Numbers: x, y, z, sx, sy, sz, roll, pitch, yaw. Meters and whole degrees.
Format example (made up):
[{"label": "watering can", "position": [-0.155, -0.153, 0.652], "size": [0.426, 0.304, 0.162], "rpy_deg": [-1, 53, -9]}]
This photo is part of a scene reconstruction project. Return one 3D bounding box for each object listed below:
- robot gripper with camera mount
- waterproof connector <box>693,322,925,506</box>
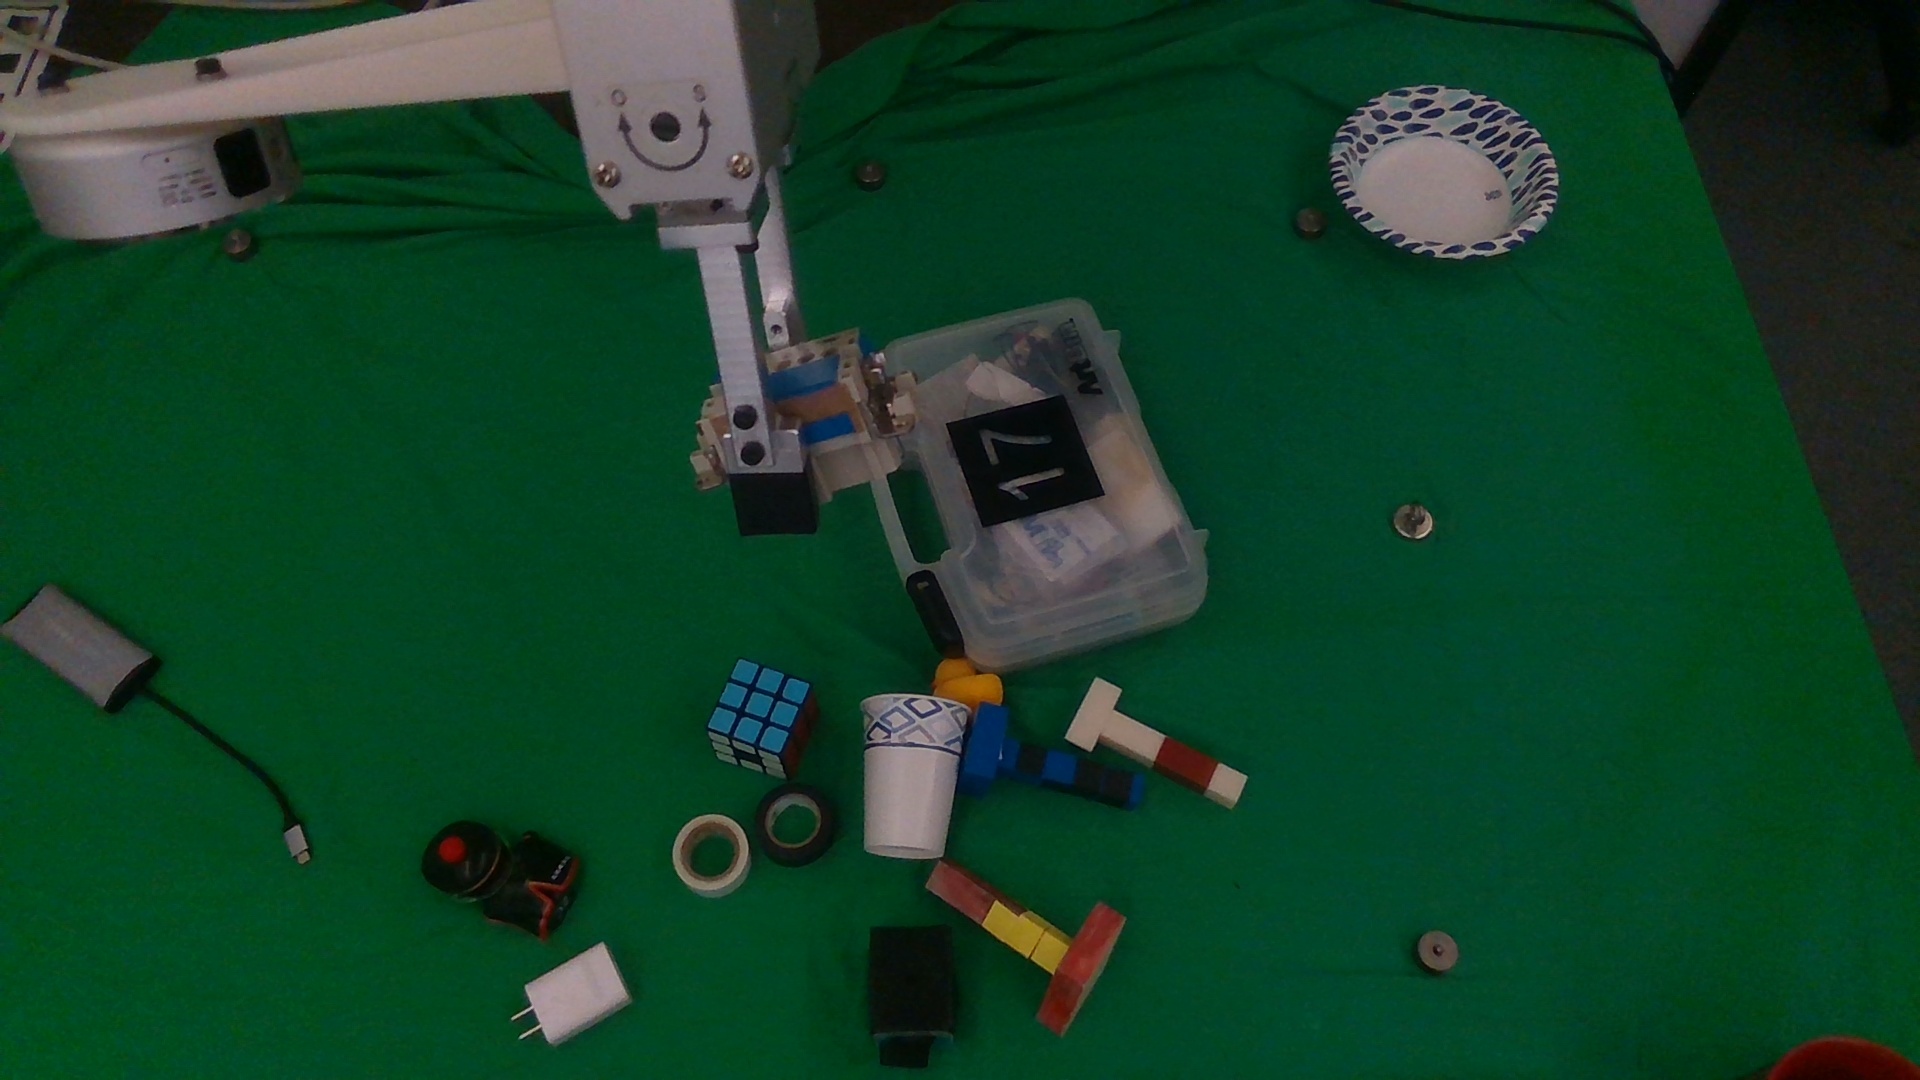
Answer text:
[{"label": "robot gripper with camera mount", "position": [-0.126, -0.075, 0.356], "size": [0.193, 0.158, 0.119], "rpy_deg": [-6, 27, 5]}, {"label": "waterproof connector", "position": [-0.042, -0.033, 0.381], "size": [0.065, 0.037, 0.035], "rpy_deg": [-15, 30, 9]}]
